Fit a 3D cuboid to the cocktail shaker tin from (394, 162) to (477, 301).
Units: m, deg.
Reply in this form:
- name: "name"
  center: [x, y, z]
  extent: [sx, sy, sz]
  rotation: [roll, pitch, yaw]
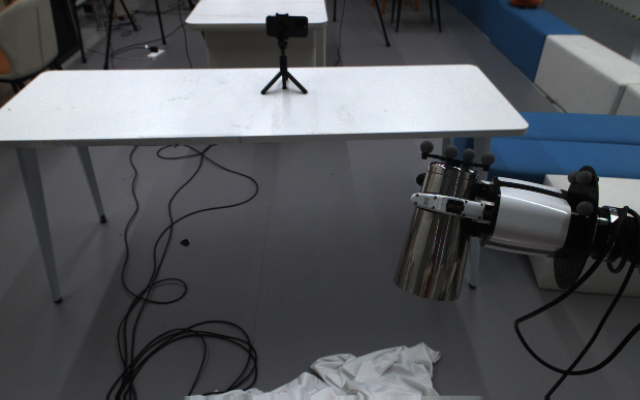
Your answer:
- name: "cocktail shaker tin"
  center: [0.165, 0.035, 0.655]
  extent: [0.093, 0.170, 0.093]
  rotation: [10, 9, -2]
